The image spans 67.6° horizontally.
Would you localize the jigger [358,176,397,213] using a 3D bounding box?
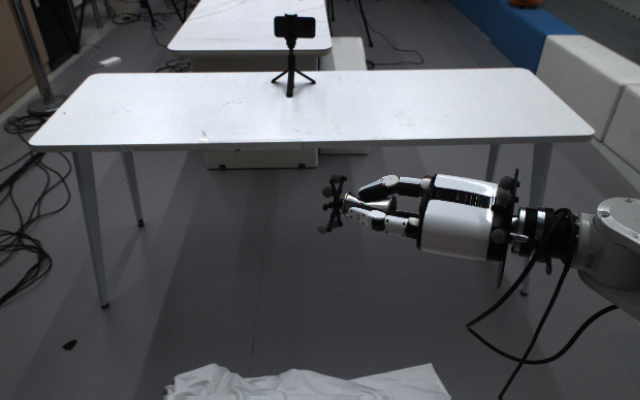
[{"bbox_3d":[0.076,0.008,0.688,0.071,0.043,0.043,8,34,23],"label":"jigger"}]
